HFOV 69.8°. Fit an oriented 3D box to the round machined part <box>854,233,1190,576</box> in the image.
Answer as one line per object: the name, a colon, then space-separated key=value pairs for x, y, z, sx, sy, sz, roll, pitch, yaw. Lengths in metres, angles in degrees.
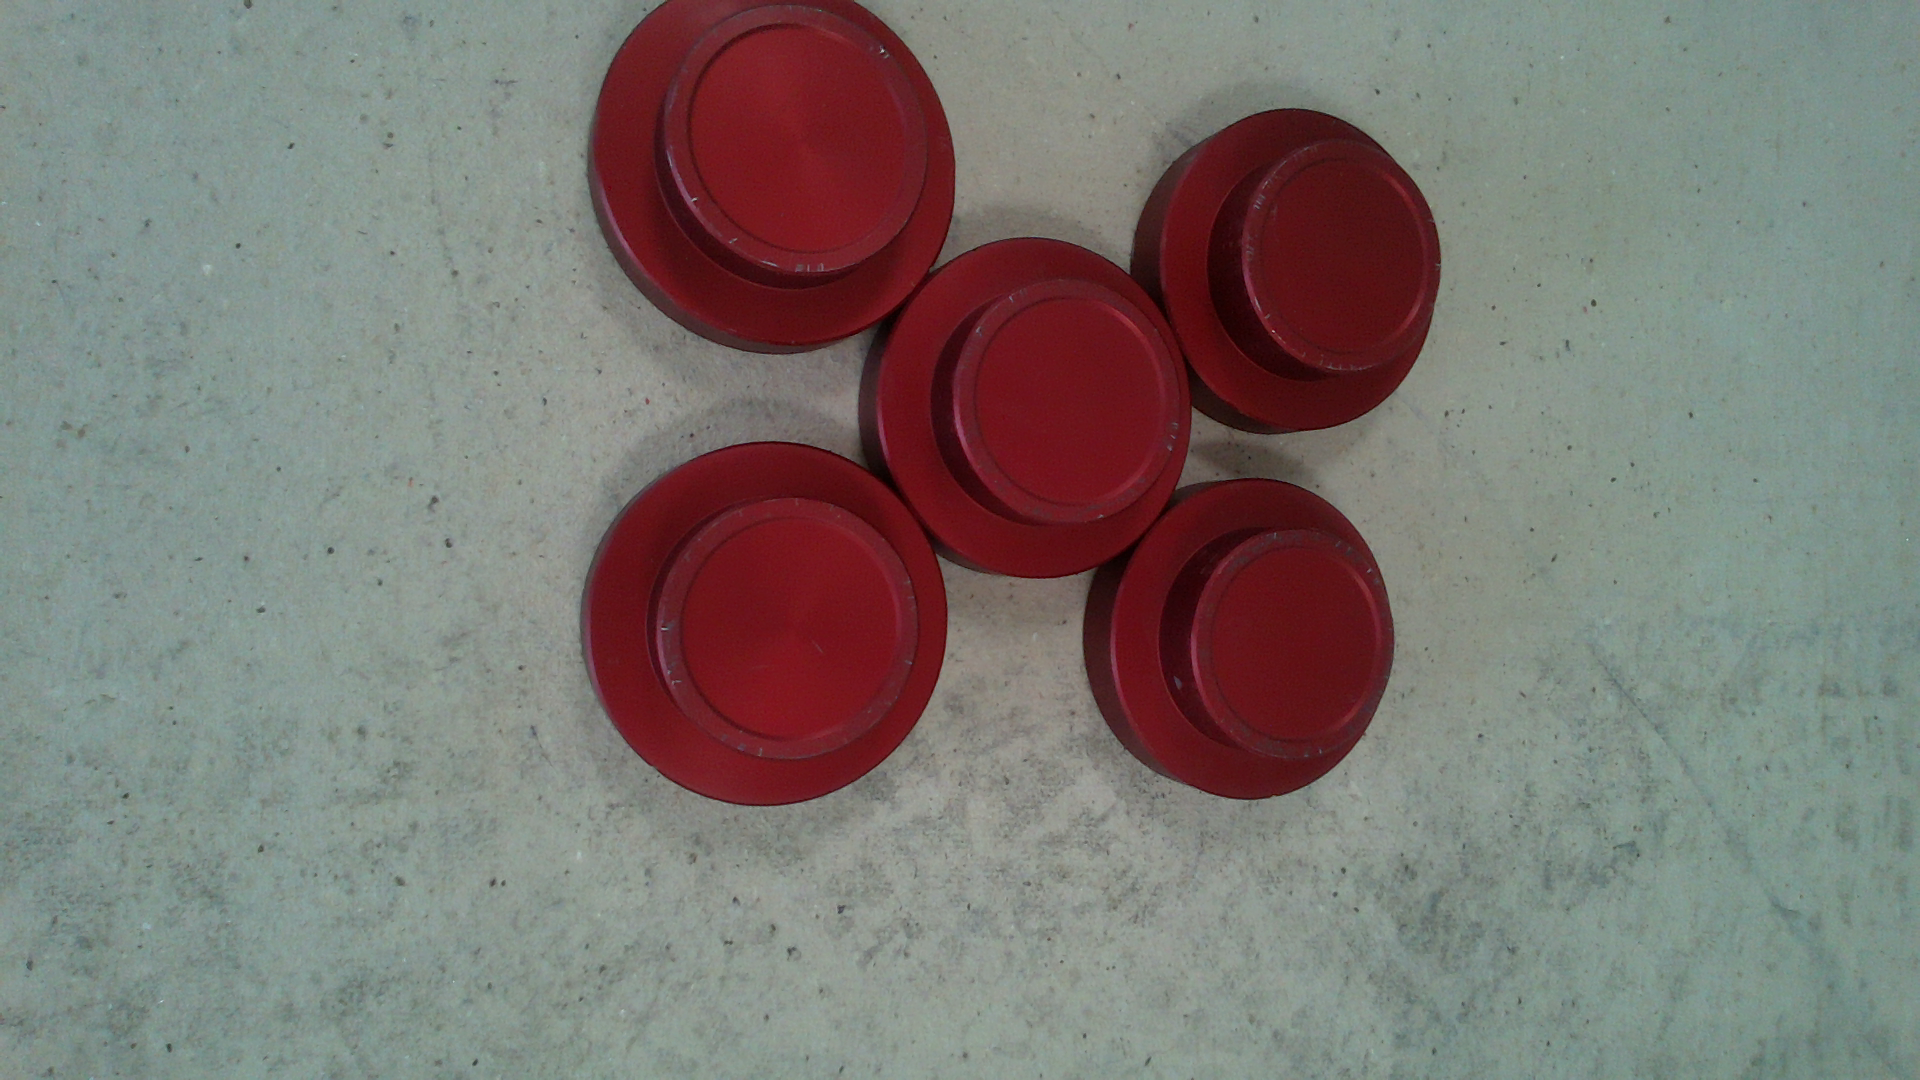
round machined part: x=0.022 y=-0.038 z=0.393 sx=0.098 sy=0.042 sz=0.098 roll=-1 pitch=92 yaw=-19

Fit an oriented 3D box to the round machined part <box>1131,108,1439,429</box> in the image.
round machined part: x=0.106 y=-0.083 z=0.422 sx=0.098 sy=0.042 sz=0.098 roll=-1 pitch=92 yaw=-19

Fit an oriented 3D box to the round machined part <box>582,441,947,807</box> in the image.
round machined part: x=-0.049 y=0.022 z=0.366 sx=0.098 sy=0.042 sz=0.098 roll=0 pitch=91 yaw=-20

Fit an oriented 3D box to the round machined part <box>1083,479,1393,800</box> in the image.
round machined part: x=0.091 y=0.030 z=0.418 sx=0.098 sy=0.042 sz=0.098 roll=-1 pitch=92 yaw=-19

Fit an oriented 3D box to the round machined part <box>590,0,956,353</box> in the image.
round machined part: x=-0.047 y=-0.101 z=0.367 sx=0.098 sy=0.042 sz=0.098 roll=0 pitch=90 yaw=-20
